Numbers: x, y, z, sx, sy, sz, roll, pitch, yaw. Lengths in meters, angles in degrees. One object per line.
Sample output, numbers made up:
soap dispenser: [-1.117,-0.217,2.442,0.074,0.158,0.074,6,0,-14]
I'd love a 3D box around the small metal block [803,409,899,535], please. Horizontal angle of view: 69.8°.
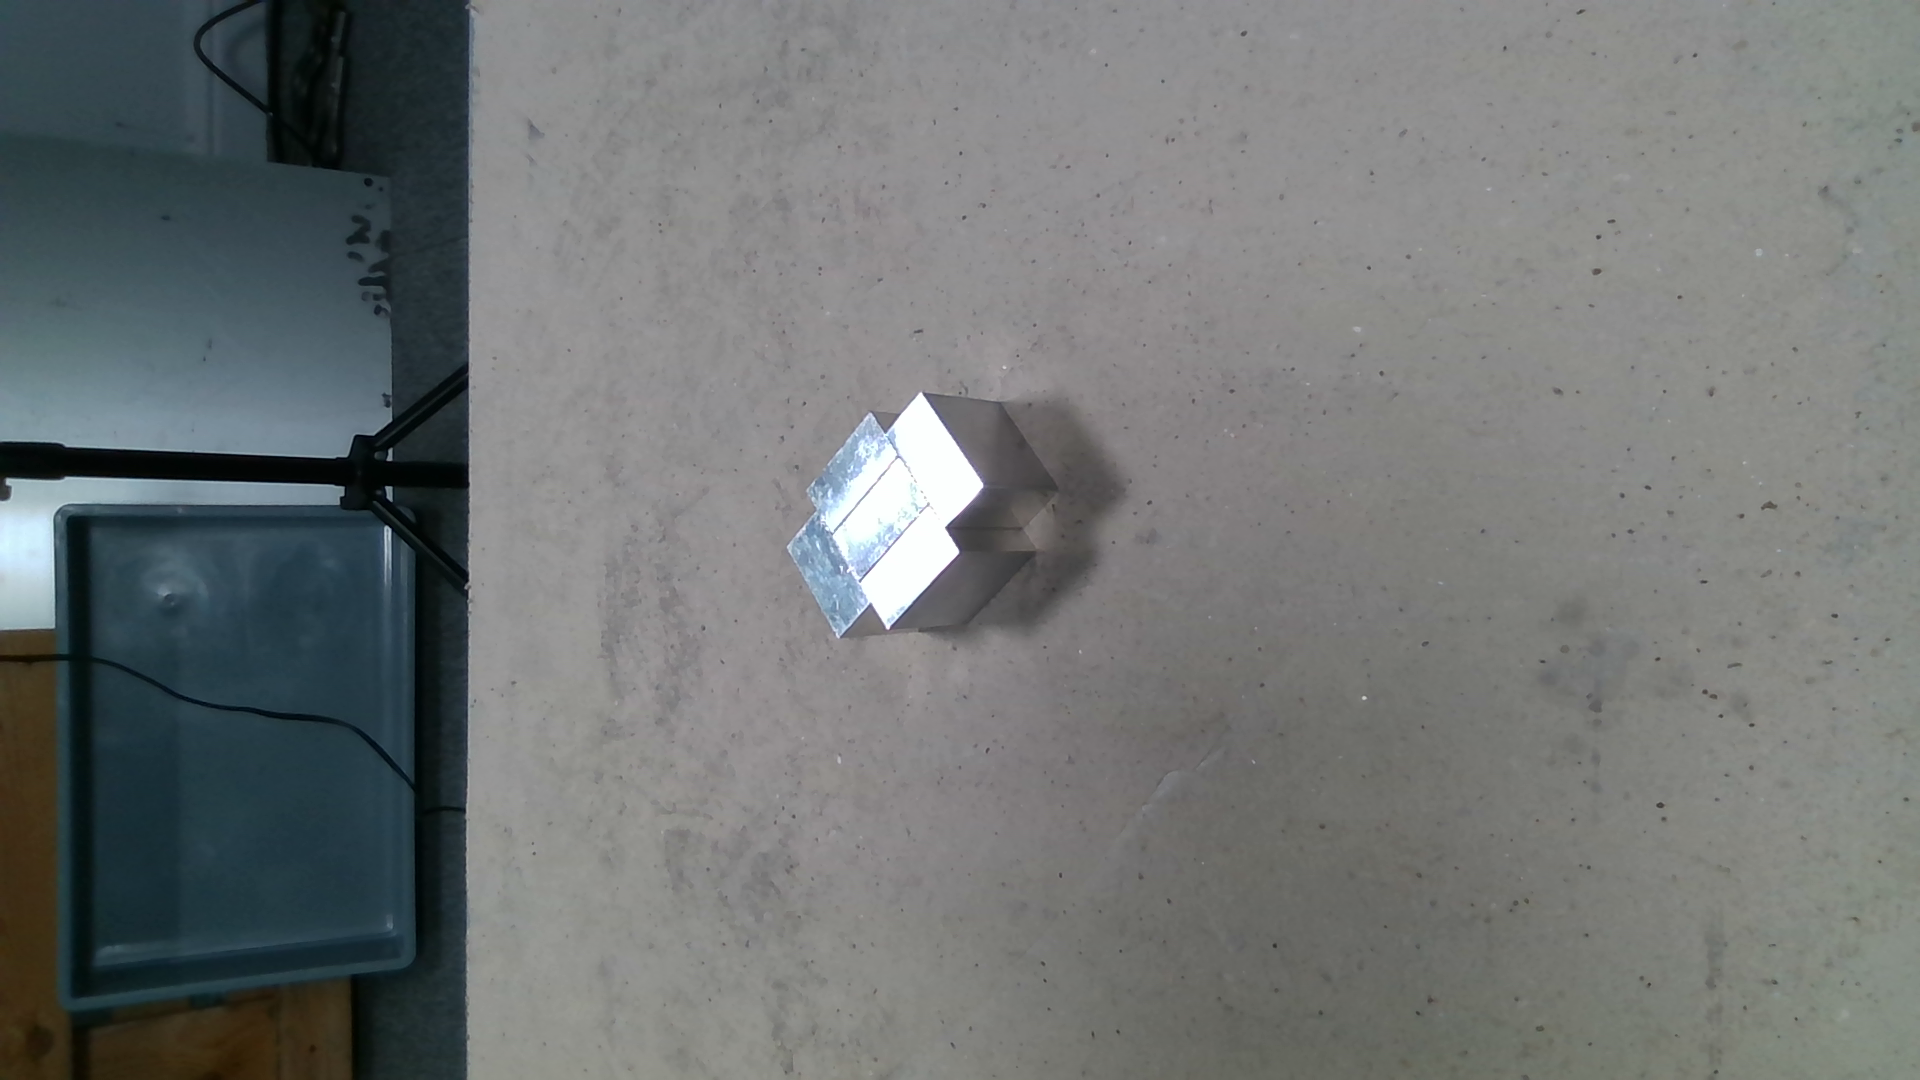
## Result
small metal block: [-0.030,-0.028,0.590,0.050,0.050,0.025,-48,62,30]

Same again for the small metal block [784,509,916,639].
small metal block: [-0.041,0.014,0.600,0.025,0.050,0.050,-47,62,30]

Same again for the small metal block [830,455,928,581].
small metal block: [-0.018,-0.009,0.580,0.050,0.050,0.025,-48,62,30]

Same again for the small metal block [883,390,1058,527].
small metal block: [0.004,-0.032,0.561,0.025,0.050,0.050,-47,62,30]

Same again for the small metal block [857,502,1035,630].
small metal block: [-0.006,0.011,0.570,0.050,0.050,0.025,-48,61,30]
